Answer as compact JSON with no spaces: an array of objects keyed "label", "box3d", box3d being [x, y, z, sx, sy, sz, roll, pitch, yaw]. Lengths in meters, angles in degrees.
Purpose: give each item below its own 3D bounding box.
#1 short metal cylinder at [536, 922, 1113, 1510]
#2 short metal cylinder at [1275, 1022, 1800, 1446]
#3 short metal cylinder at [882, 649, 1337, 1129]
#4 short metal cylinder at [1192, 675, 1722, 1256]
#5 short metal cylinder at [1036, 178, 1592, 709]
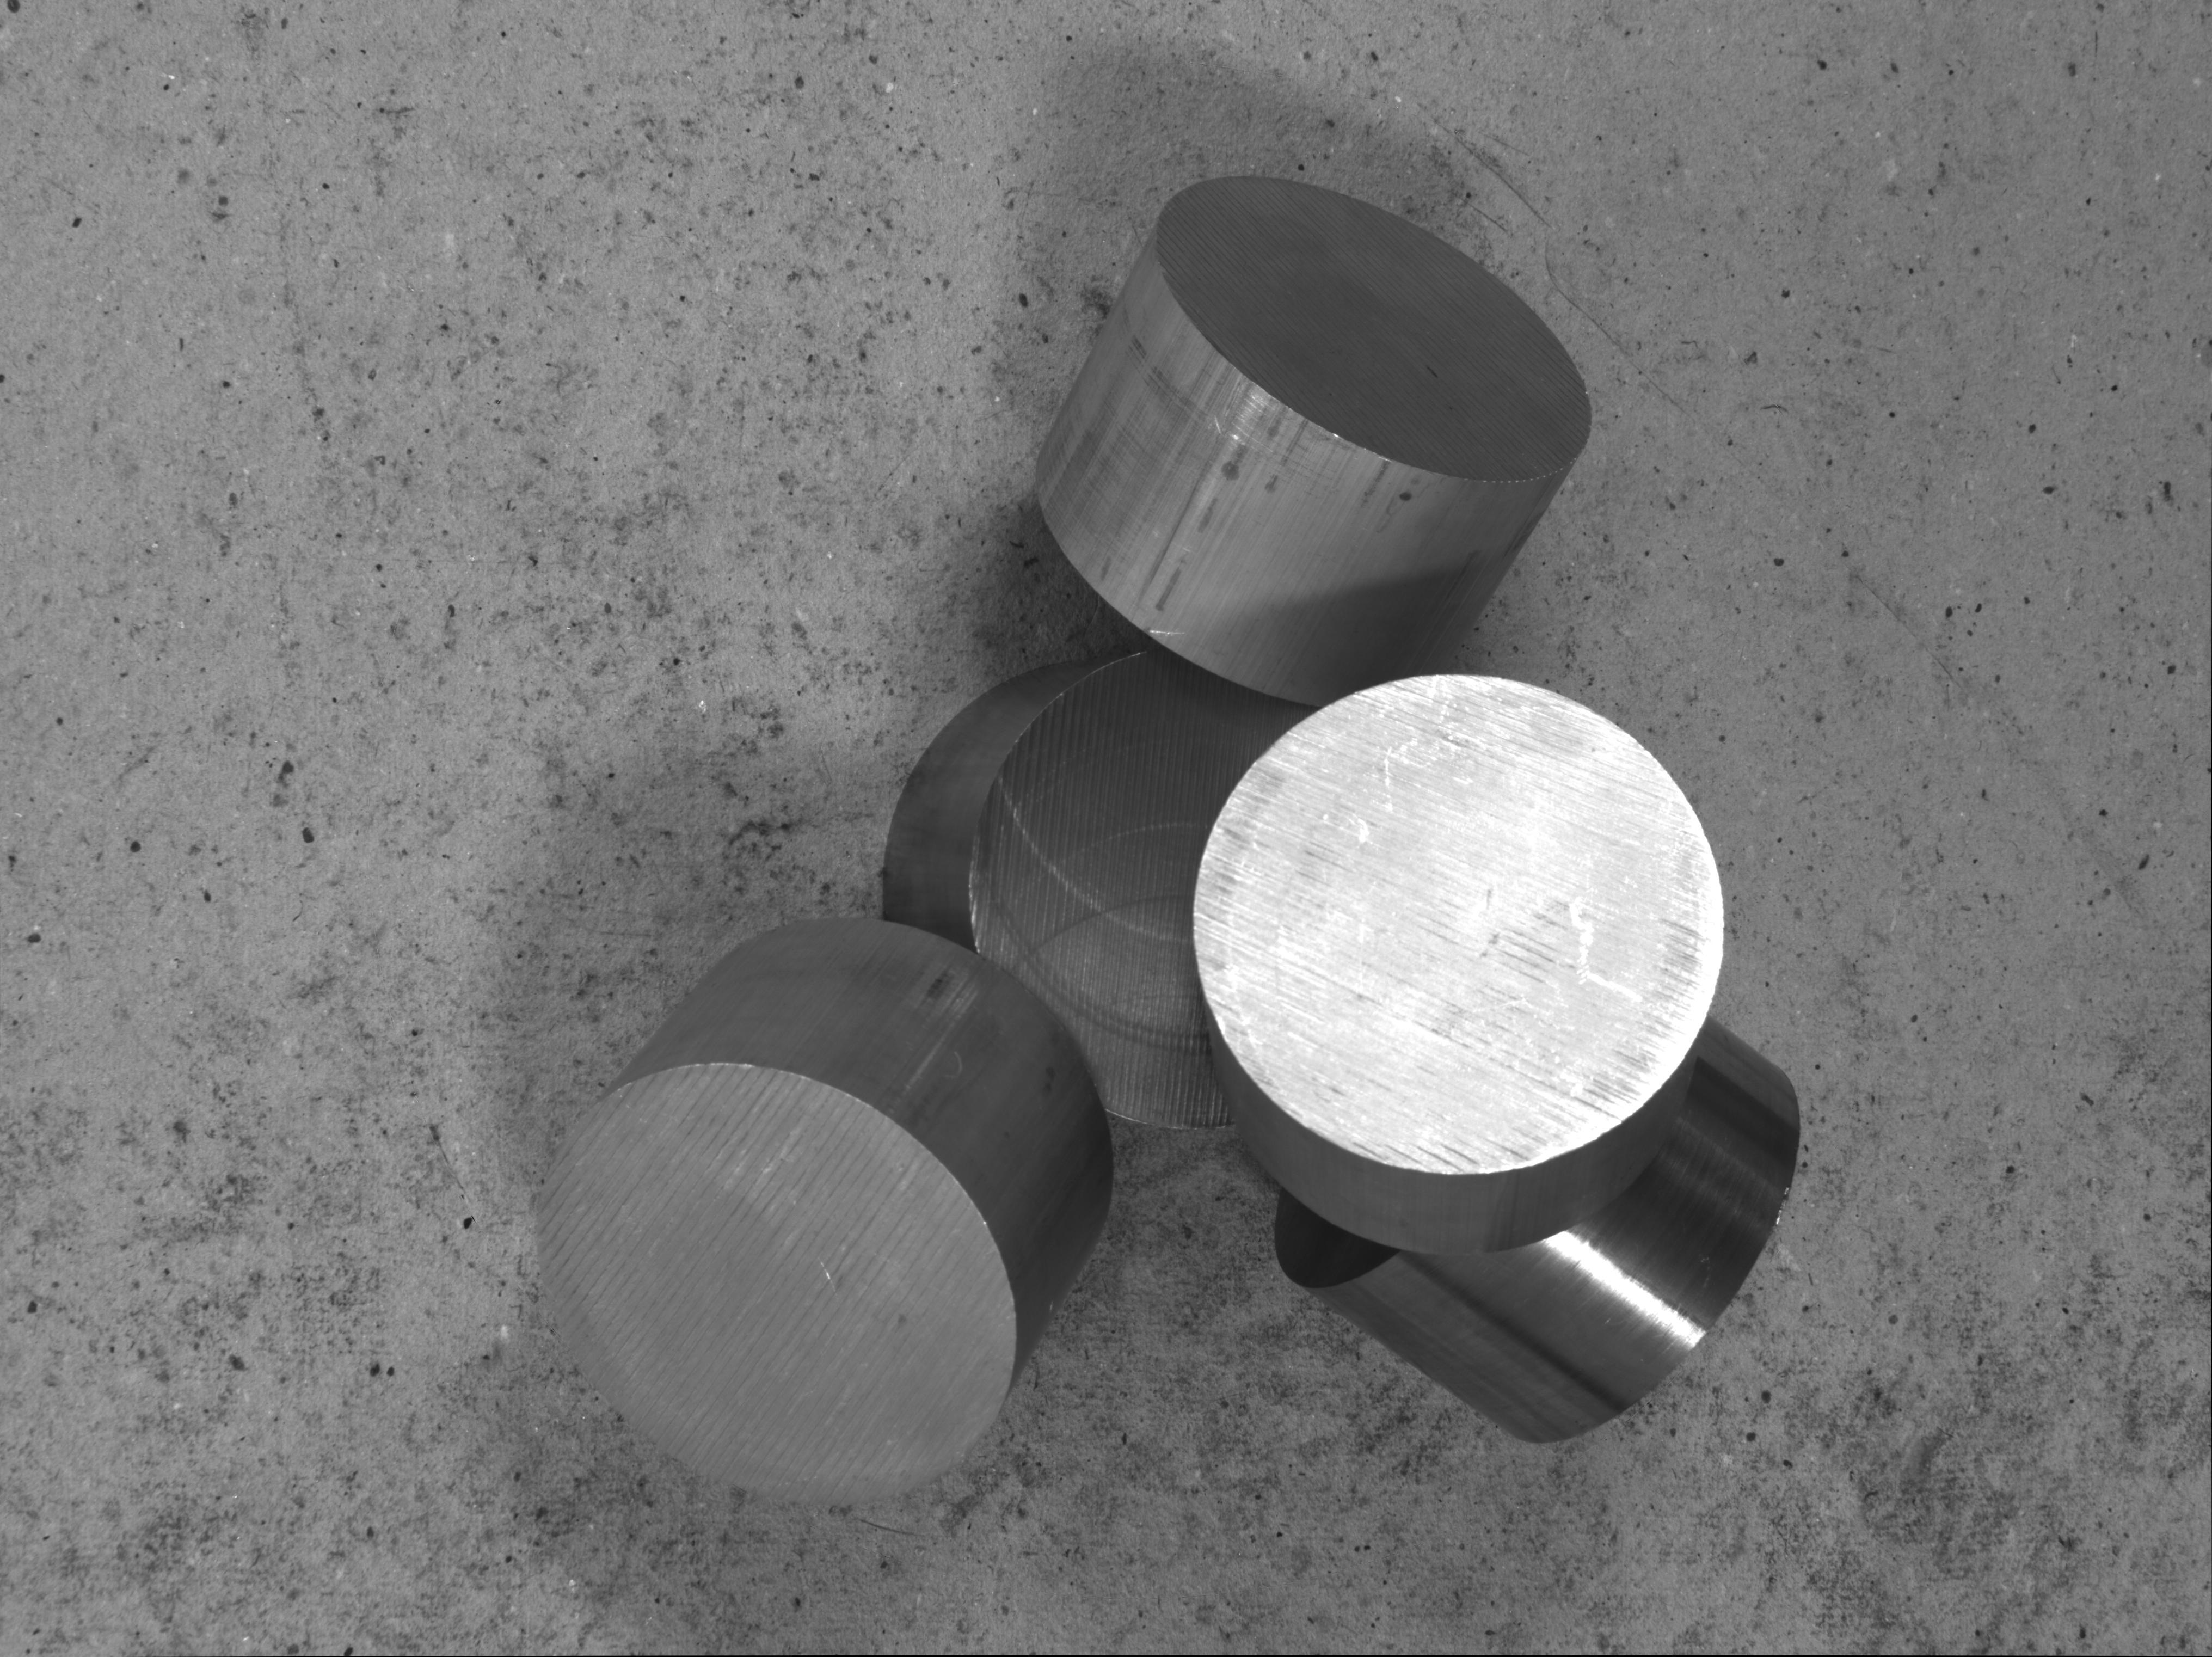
[{"label":"short metal cylinder","box3d":[-0.044,0.062,0.592,0.080,0.050,0.080,7,117,15]},{"label":"short metal cylinder","box3d":[0.075,0.060,0.641,0.050,0.080,0.080,36,78,-16]},{"label":"short metal cylinder","box3d":[0.007,0.010,0.632,0.080,0.050,0.080,0,89,-20]},{"label":"short metal cylinder","box3d":[0.055,0.022,0.579,0.080,0.050,0.080,-1,70,4]},{"label":"short metal cylinder","box3d":[0.035,-0.065,0.620,0.080,0.080,0.050,15,128,-19]}]
